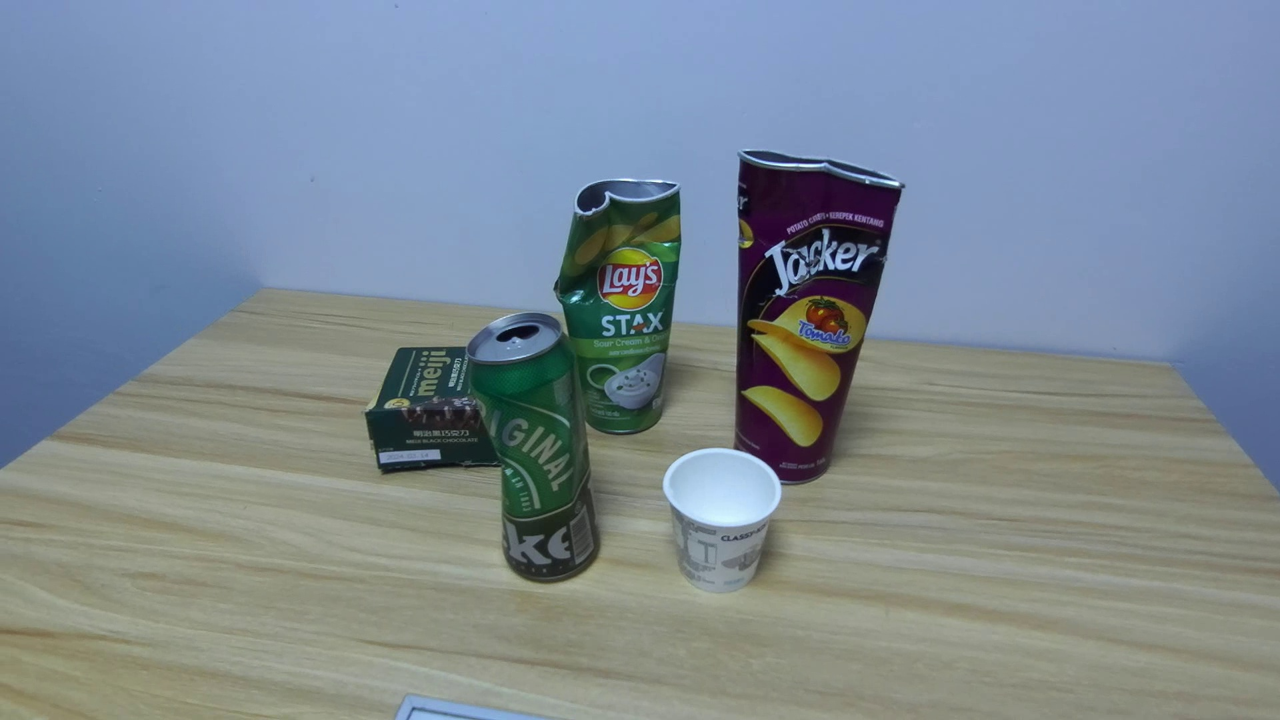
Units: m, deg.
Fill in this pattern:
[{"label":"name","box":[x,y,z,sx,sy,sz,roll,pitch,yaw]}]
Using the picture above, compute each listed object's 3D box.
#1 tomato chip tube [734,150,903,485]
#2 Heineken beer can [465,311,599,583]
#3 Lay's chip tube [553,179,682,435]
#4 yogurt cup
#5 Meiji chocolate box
[{"label":"tomato chip tube","box":[0.109,-0.023,0.498,0.078,0.236,0.090,-6,35,-6]},{"label":"Heineken beer can","box":[-0.064,0.058,0.438,0.068,0.168,0.069,-26,36,-31]},{"label":"Lay's chip tube","box":[-0.015,-0.039,0.556,0.069,0.201,0.077,21,41,30]},{"label":"yogurt cup","box":[0.051,0.104,0.449,0.072,0.068,0.072,-1,32,1]},{"label":"Meiji chocolate box","box":[-0.154,0.036,0.585,0.122,0.058,0.115,-2,32,-3]}]
